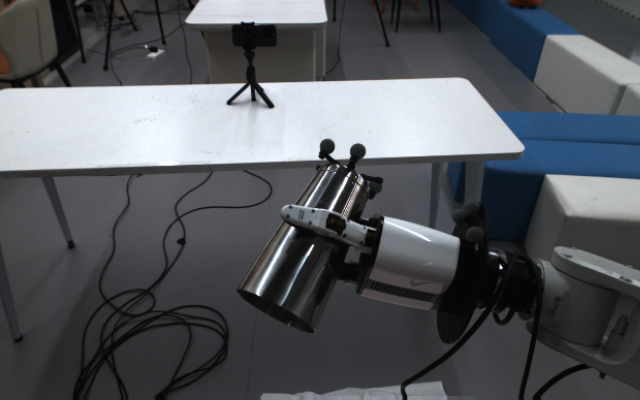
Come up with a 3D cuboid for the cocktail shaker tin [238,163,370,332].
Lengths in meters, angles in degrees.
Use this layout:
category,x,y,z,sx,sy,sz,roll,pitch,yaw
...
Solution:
category,x,y,z,sx,sy,sz,roll,pitch,yaw
cocktail shaker tin,-0.006,0.044,0.528,0.093,0.093,0.170,18,66,21
